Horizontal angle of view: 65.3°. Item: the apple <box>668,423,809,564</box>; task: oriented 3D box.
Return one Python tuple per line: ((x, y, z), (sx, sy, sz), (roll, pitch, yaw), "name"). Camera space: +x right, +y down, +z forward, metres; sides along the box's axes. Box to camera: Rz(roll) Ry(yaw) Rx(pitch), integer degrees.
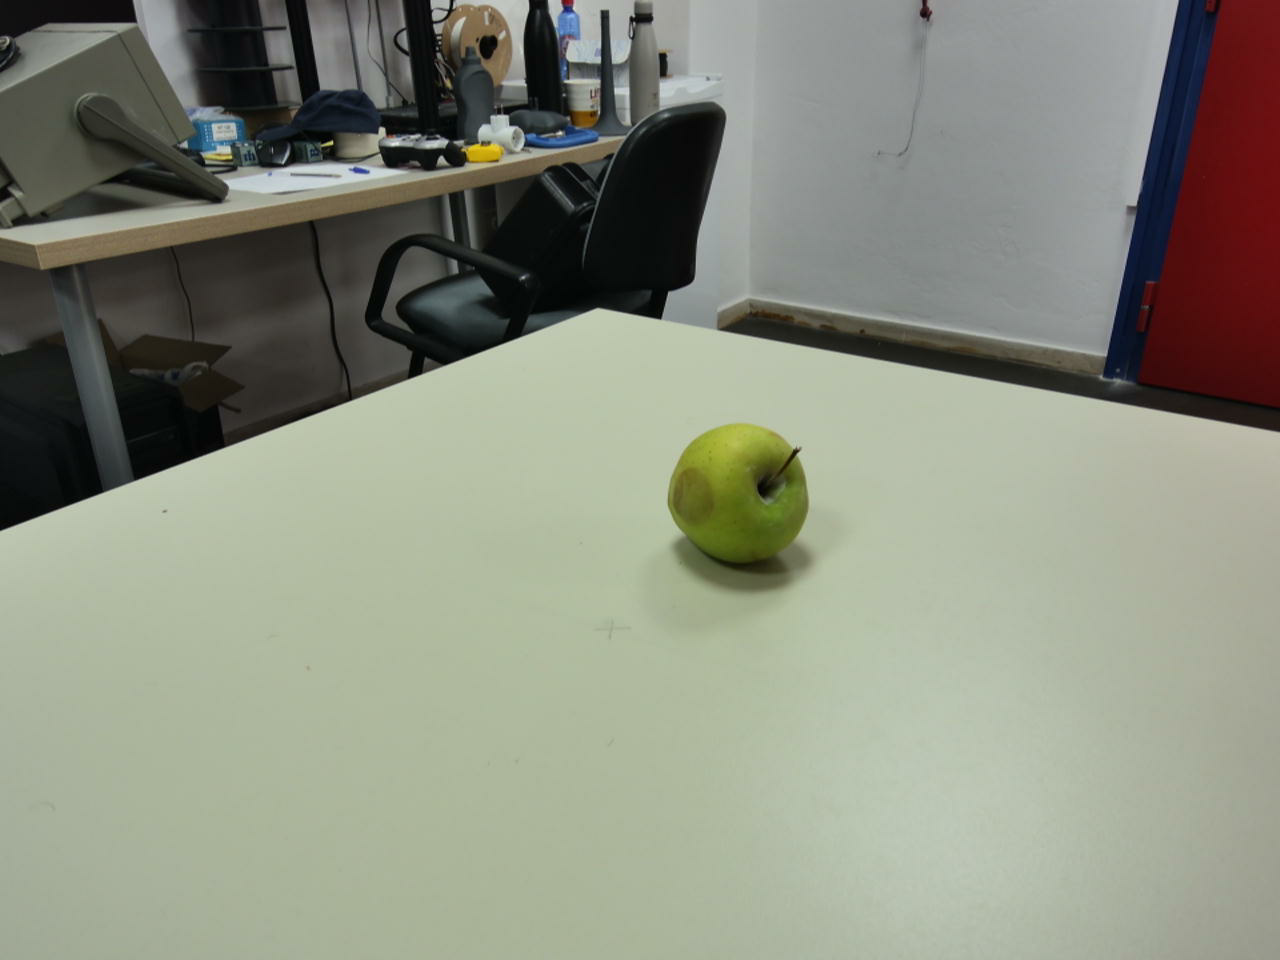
((0.053, 0.006, 0.539), (0.072, 0.075, 0.077), (-3, 24, -8), "apple")
